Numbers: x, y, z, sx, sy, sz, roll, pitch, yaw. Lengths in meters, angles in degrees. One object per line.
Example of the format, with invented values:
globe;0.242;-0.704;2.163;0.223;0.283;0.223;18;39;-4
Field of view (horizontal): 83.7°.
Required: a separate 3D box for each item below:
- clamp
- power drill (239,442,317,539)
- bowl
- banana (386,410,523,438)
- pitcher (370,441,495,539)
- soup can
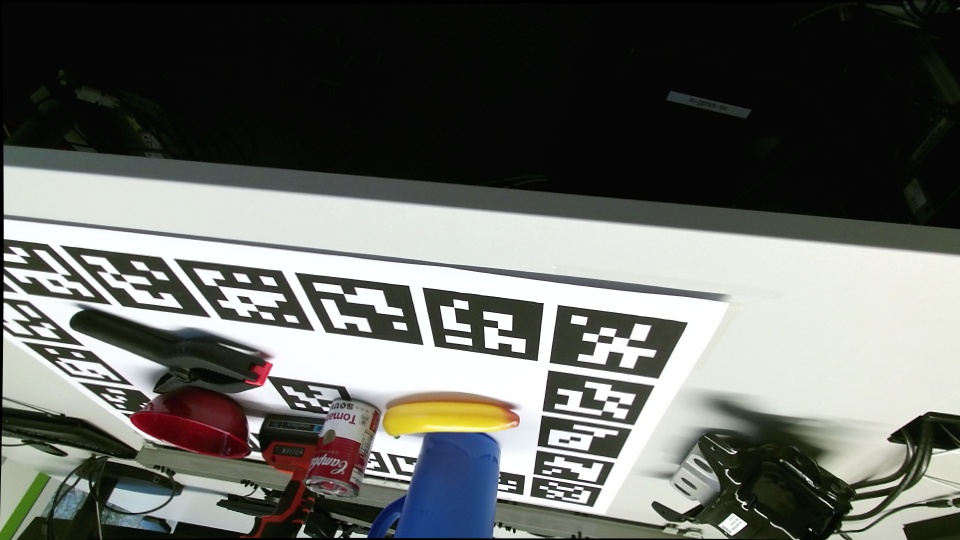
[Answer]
clamp;-0.332;0.119;0.604;0.203;0.036;0.165;5;136;8
power drill;-0.294;0.329;0.709;0.185;0.186;0.057;4;140;10
bowl;-0.390;0.216;0.730;0.162;0.055;0.162;6;139;6
banana;-0.041;0.189;0.631;0.198;0.038;0.074;-10;144;26
pitcher;-0.059;0.339;0.651;0.189;0.241;0.133;-10;139;24
soup can;-0.168;0.232;0.662;0.068;0.101;0.068;7;149;4
